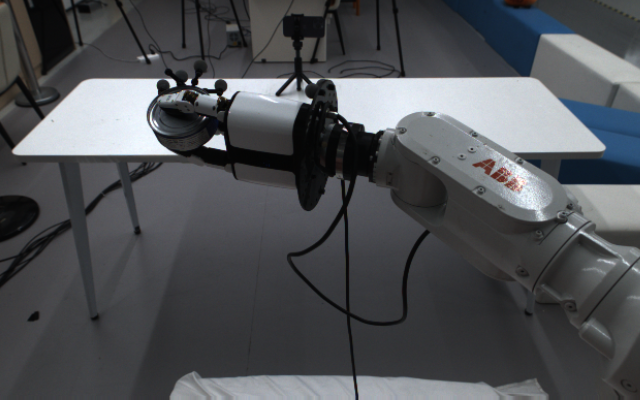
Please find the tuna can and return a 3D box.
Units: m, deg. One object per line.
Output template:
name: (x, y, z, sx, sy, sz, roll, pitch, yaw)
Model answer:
tuna can: (-0.175, -0.105, 0.629, 0.085, 0.034, 0.085, -1, 57, 2)
